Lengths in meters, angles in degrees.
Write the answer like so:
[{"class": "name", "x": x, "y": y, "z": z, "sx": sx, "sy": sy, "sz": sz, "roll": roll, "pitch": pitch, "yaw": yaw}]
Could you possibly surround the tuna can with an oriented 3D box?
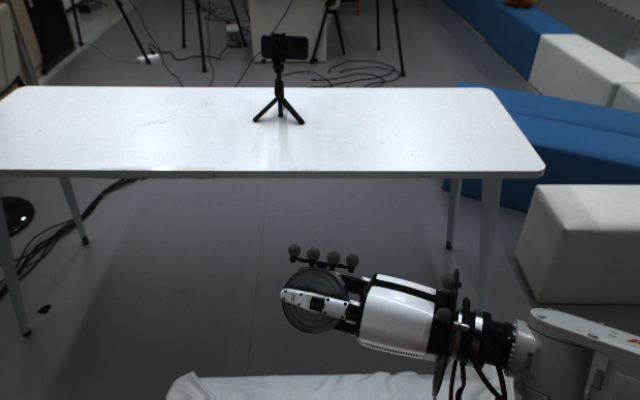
[{"class": "tuna can", "x": -0.004, "y": 0.129, "z": 0.638, "sx": 0.085, "sy": 0.085, "sz": 0.034, "roll": 11, "pitch": -7, "yaw": 13}]
